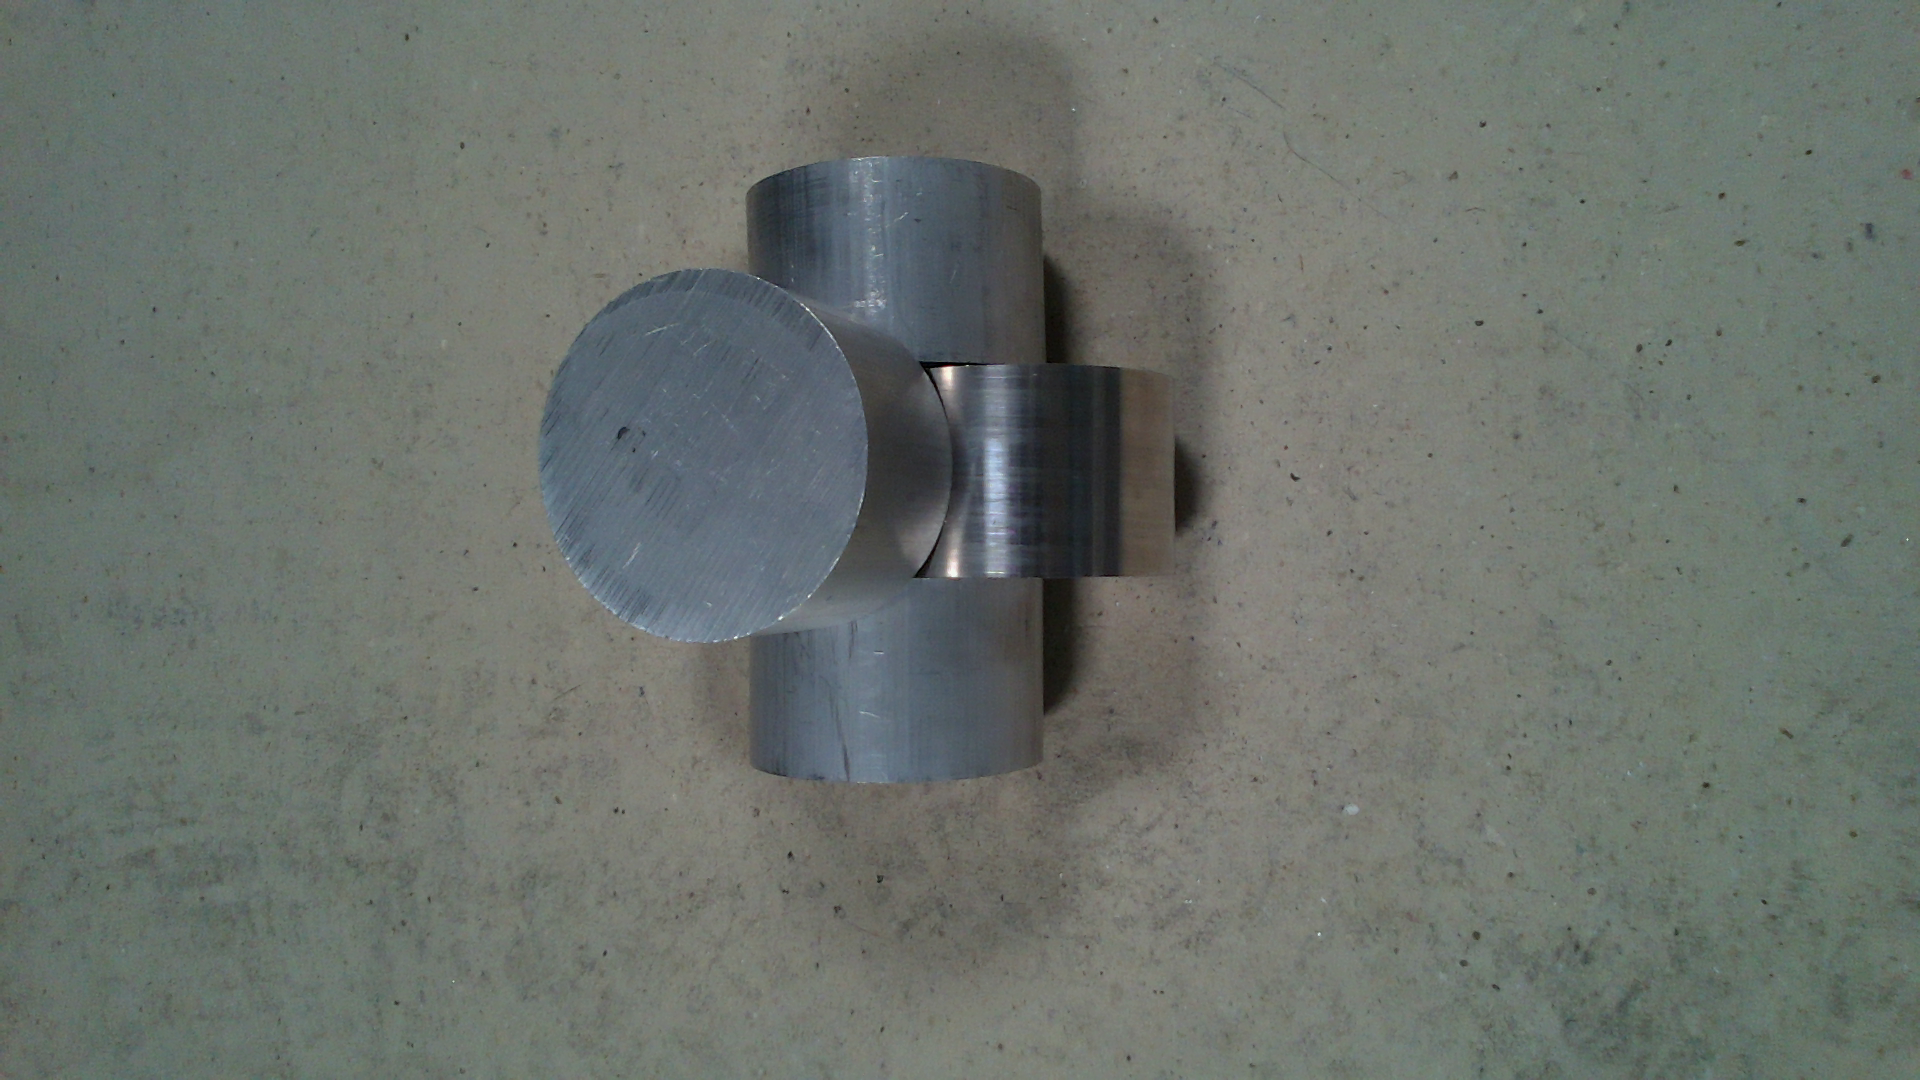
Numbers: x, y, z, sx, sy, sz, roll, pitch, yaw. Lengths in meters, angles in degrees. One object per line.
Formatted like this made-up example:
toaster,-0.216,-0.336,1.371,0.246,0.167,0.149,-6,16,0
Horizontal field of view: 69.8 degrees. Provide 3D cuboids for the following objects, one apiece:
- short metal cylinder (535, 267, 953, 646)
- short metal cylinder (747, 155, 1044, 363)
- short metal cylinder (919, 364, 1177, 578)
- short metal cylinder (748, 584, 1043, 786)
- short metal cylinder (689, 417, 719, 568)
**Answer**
short metal cylinder,-0.048,-0.018,0.314,0.080,0.050,0.080,0,90,20
short metal cylinder,-0.017,-0.068,0.373,0.080,0.080,0.050,-2,89,20
short metal cylinder,0.016,-0.016,0.361,0.080,0.080,0.050,-1,90,20
short metal cylinder,-0.017,0.034,0.373,0.080,0.080,0.050,0,90,20
short metal cylinder,-0.060,-0.015,0.388,0.080,0.080,0.050,-1,90,20
